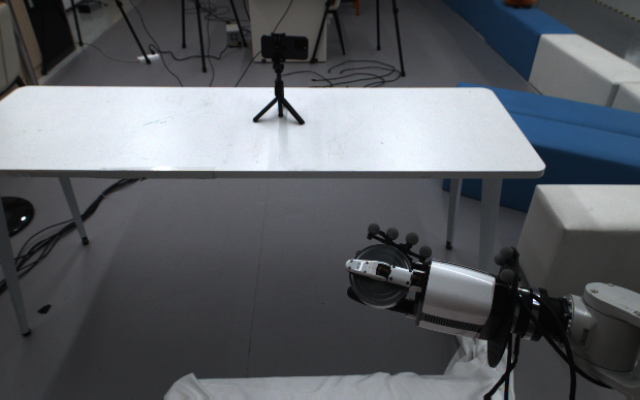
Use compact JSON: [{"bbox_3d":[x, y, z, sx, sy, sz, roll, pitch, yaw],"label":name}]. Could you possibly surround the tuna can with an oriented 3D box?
[{"bbox_3d":[0.086,0.104,0.670,0.085,0.034,0.085,-4,66,10],"label":"tuna can"}]
